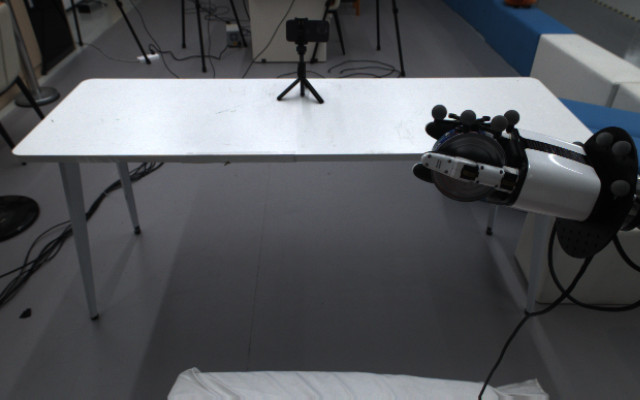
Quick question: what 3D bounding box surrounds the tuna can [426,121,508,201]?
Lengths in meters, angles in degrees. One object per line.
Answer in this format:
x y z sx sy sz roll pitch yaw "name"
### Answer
0.176 -0.044 0.576 0.085 0.085 0.034 7 22 7 "tuna can"
